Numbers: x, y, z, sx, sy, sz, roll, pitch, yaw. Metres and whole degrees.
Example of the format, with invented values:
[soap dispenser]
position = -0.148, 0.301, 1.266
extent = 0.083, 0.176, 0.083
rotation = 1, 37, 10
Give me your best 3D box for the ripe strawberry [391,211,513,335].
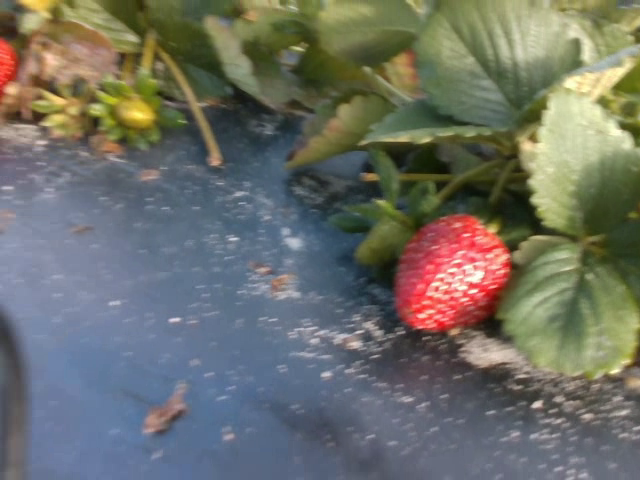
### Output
[ripe strawberry]
position = 0.026, 0.007, 0.132
extent = 0.029, 0.021, 0.036
rotation = 17, 39, 29
